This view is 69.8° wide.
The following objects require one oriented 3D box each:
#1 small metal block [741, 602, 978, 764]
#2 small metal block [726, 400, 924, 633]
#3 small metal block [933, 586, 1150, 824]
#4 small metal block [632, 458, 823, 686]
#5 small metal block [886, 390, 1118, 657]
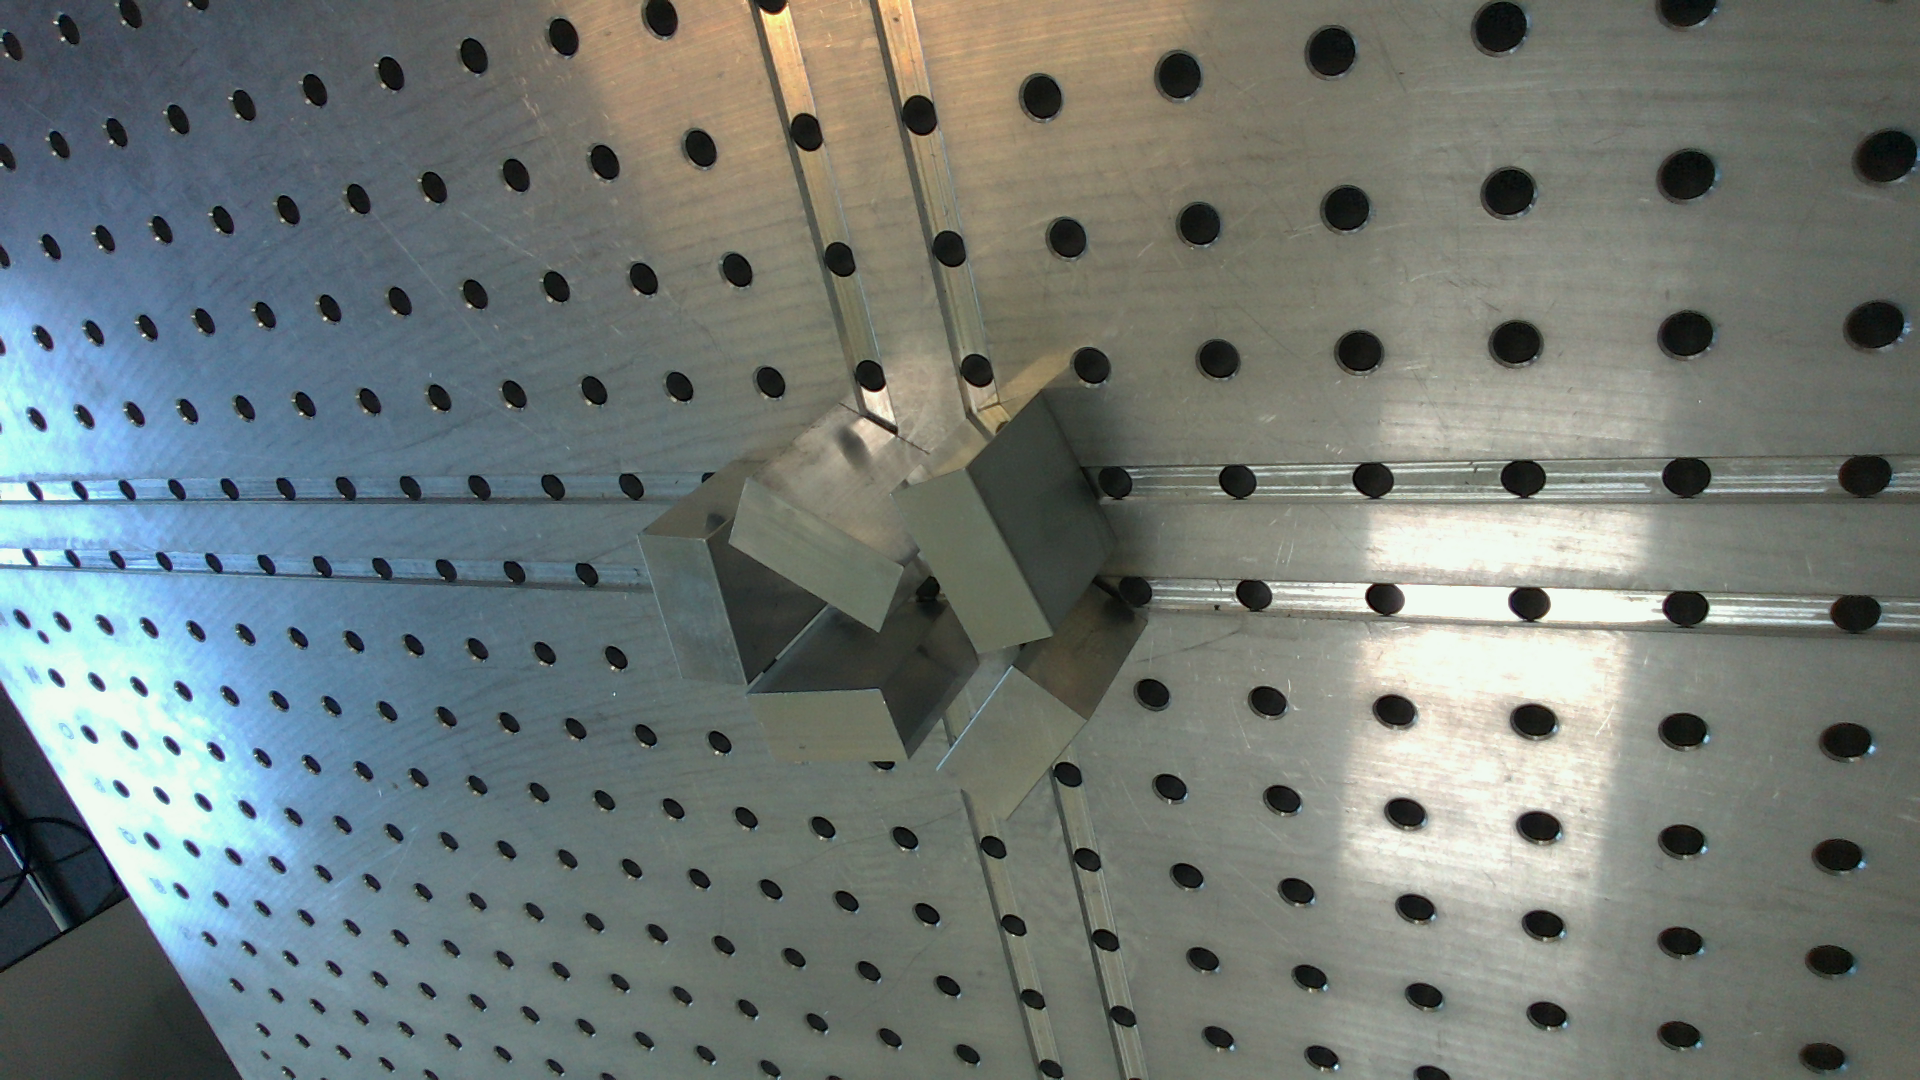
[{"bbox_3d":[-0.030,0.043,0.422,0.050,0.050,0.025,-5,116,31],"label":"small metal block"},{"bbox_3d":[-0.030,-0.008,0.391,0.050,0.050,0.025,29,129,9],"label":"small metal block"},{"bbox_3d":[0.024,0.045,0.394,0.025,0.050,0.050,37,129,5],"label":"small metal block"},{"bbox_3d":[-0.069,0.009,0.422,0.025,0.050,0.050,3,121,27],"label":"small metal block"},{"bbox_3d":[0.013,-0.005,0.369,0.025,0.050,0.050,-17,109,35],"label":"small metal block"}]
